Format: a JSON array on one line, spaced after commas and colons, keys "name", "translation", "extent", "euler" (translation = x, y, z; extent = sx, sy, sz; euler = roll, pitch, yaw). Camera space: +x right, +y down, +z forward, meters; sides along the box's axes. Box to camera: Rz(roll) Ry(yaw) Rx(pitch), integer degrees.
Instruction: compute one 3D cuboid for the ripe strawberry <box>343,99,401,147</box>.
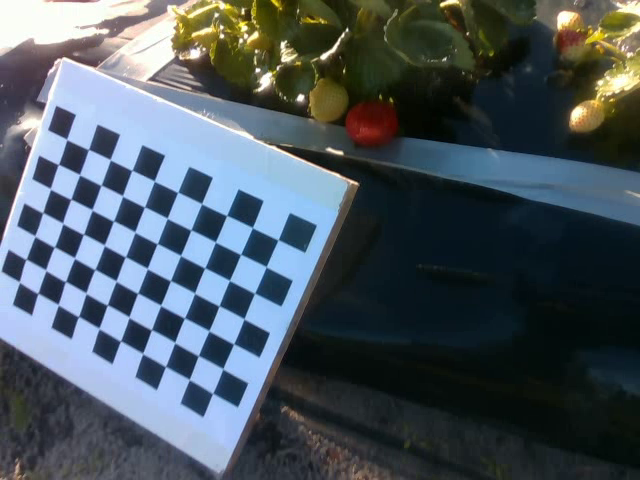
[{"name": "ripe strawberry", "translation": [0.043, -0.098, 0.439], "extent": [0.048, 0.045, 0.064], "euler": [41, 19, -18]}]
